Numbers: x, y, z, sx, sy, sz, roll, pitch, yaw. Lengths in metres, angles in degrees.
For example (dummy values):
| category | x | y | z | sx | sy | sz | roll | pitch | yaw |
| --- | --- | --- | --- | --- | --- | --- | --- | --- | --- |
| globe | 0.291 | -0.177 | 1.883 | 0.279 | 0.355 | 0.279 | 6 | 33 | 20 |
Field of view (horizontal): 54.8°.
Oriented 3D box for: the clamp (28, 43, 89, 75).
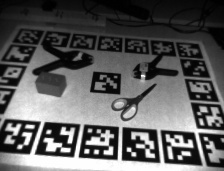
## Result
| category | x | y | z | sx | sy | sz | roll | pitch | yaw |
| --- | --- | --- | --- | --- | --- | --- | --- | --- | --- |
| clamp | -0.186 | -0.098 | 0.794 | 0.203 | 0.037 | 0.164 | 2 | 46 | -5 |

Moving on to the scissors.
| category | x | y | z | sx | sy | sz | roll | pitch | yaw |
| --- | --- | --- | --- | --- | --- | --- | --- | --- | --- |
| scissors | 0.069 | 0.040 | 0.708 | 0.087 | 0.016 | 0.204 | 40 | 55 | 17 |

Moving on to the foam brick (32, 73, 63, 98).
| category | x | y | z | sx | sy | sz | roll | pitch | yaw |
| --- | --- | --- | --- | --- | --- | --- | --- | --- | --- |
| foam brick | -0.210 | 0.000 | 0.700 | 0.078 | 0.051 | 0.052 | 7 | 50 | 7 |

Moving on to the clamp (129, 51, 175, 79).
| category | x | y | z | sx | sy | sz | roll | pitch | yaw |
| --- | --- | --- | --- | --- | --- | --- | --- | --- | --- |
| clamp | 0.139 | -0.067 | 0.803 | 0.166 | 0.036 | 0.121 | -18 | 61 | -19 |
